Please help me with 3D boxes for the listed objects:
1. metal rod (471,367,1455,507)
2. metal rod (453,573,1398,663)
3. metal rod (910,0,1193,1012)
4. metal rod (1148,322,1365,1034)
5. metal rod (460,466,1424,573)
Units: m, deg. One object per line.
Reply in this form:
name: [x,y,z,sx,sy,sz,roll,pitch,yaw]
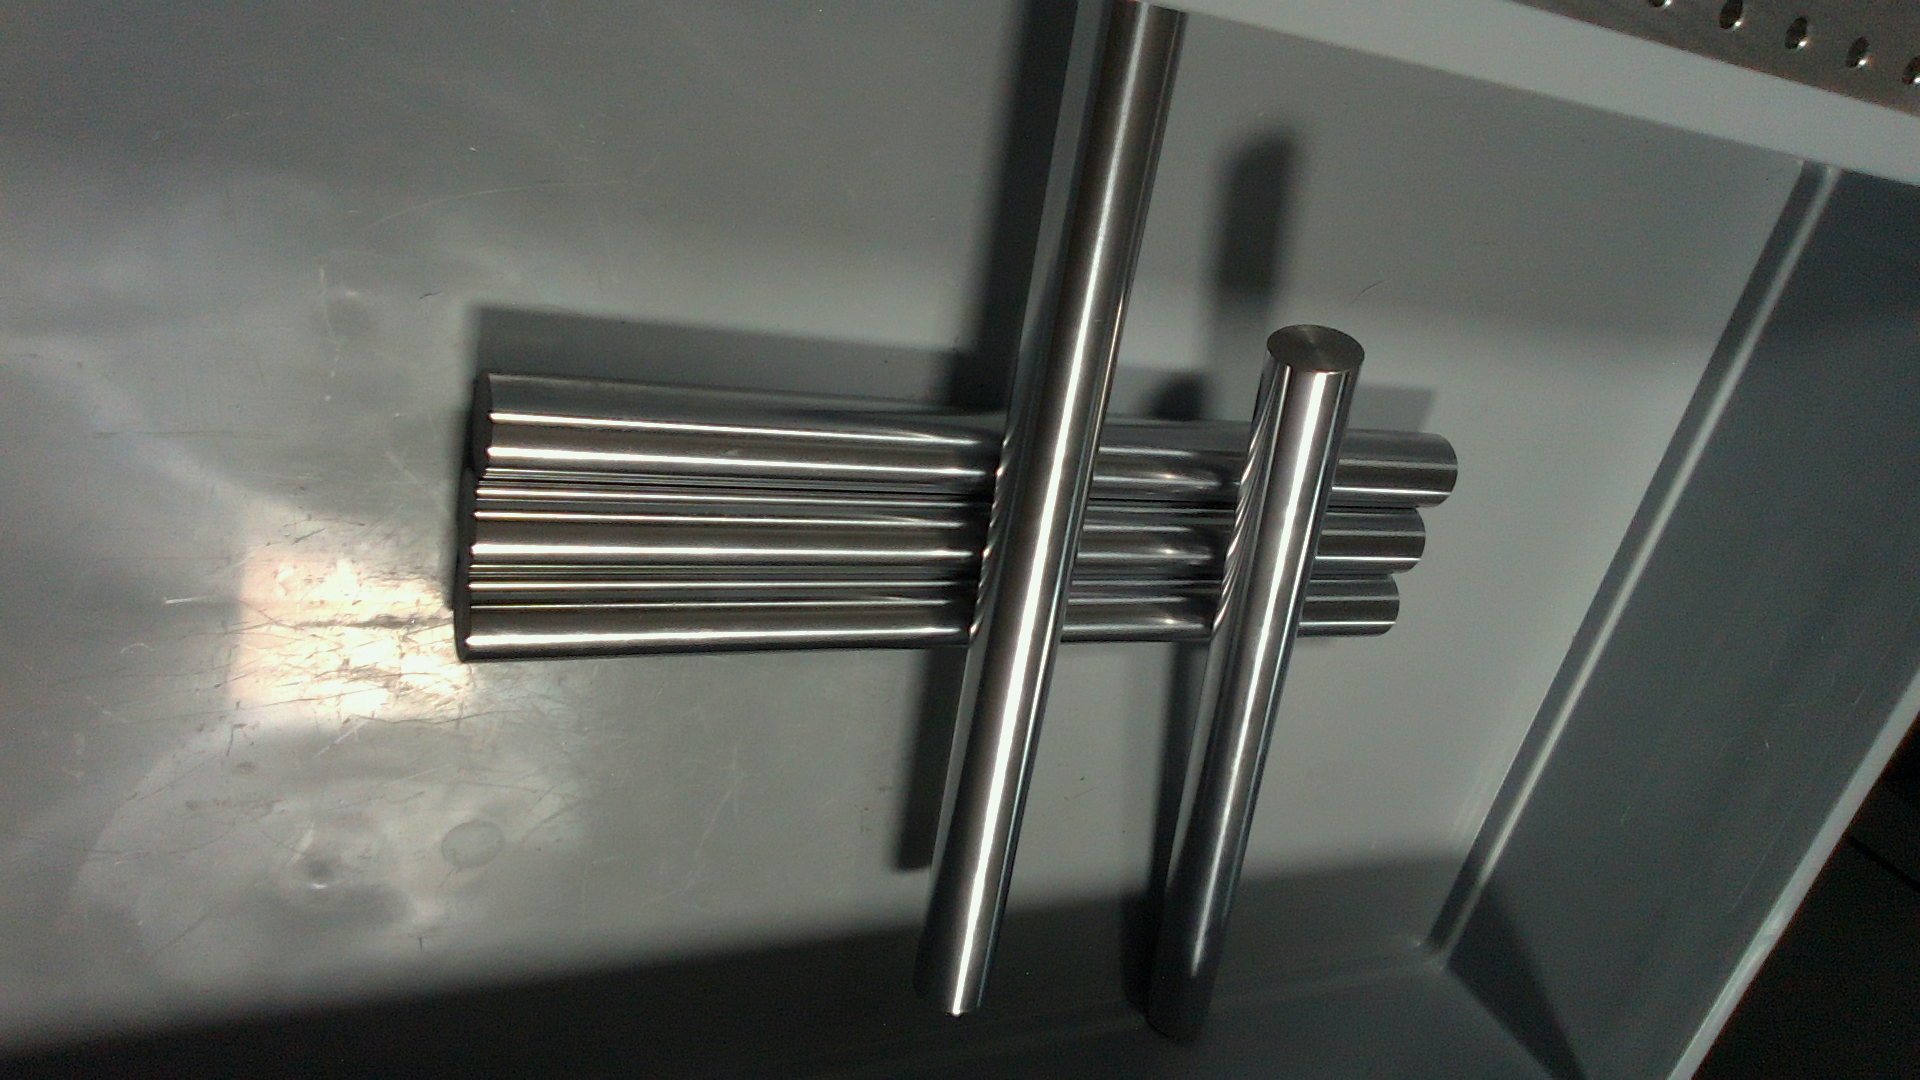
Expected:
metal rod: [0.023,-0.025,0.385,0.301,0.025,0.025,1,118,-29]
metal rod: [0.011,0.019,0.406,0.301,0.025,0.025,1,118,-29]
metal rod: [0.018,0.010,0.371,0.025,0.025,0.300,-5,121,-26]
metal rod: [0.089,0.067,0.452,0.025,0.025,0.300,-15,131,-20]
metal rod: [0.016,-0.003,0.395,0.301,0.025,0.025,1,118,-29]
